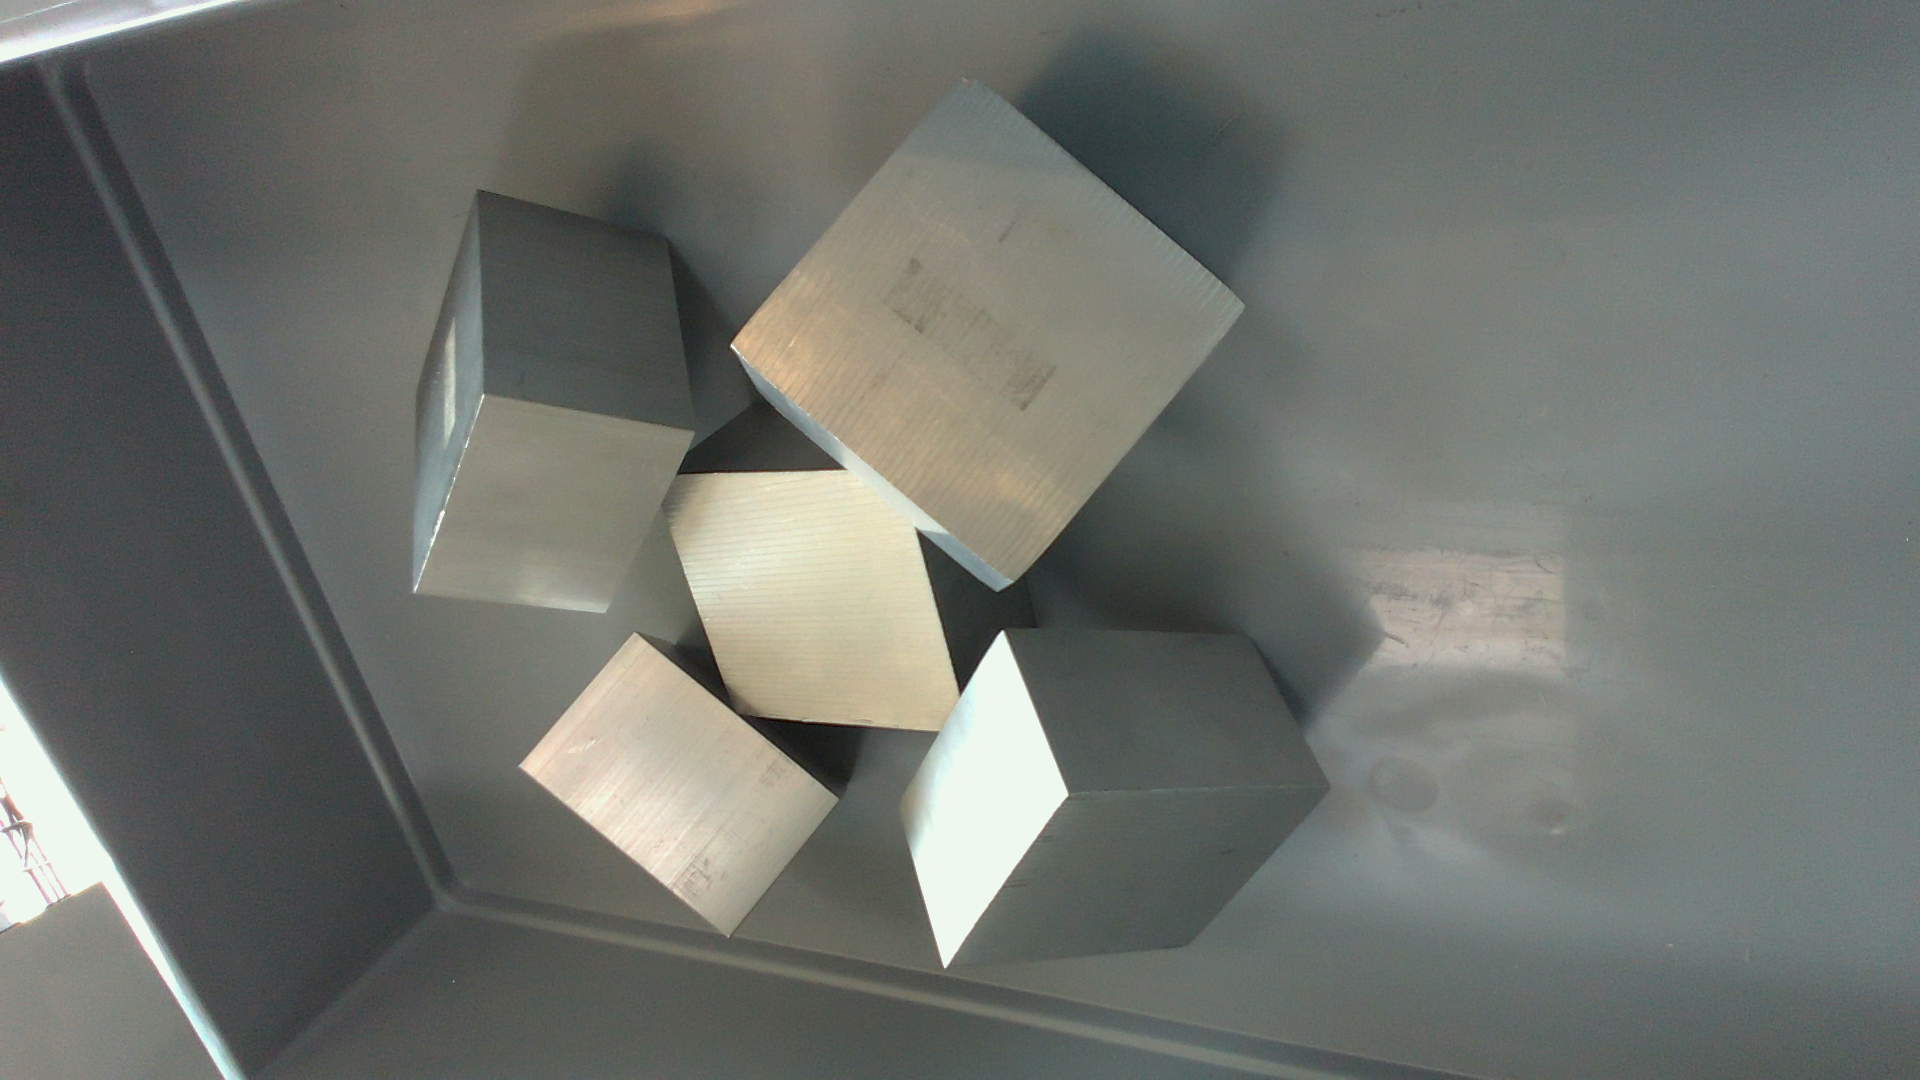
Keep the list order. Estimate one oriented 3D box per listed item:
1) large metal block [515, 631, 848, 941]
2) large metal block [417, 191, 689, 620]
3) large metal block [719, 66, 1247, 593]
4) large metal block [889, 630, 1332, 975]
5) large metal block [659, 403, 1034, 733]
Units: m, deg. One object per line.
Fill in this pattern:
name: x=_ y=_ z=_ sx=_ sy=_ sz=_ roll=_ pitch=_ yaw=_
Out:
large metal block: x=-0.084 y=0.075 z=0.440 sx=0.080 sy=0.050 sz=0.080 roll=39 pitch=174 yaw=2
large metal block: x=-0.118 y=-0.036 z=0.386 sx=0.050 sy=0.080 sz=0.080 roll=8 pitch=136 yaw=-30
large metal block: x=0.005 y=-0.044 z=0.318 sx=0.080 sy=0.050 sz=0.080 roll=40 pitch=86 yaw=2
large metal block: x=0.037 y=0.070 z=0.370 sx=0.080 sy=0.050 sz=0.080 roll=3 pitch=134 yaw=-28
large metal block: x=-0.031 y=0.006 z=0.394 sx=0.080 sy=0.050 sz=0.080 roll=1 pitch=119 yaw=28
